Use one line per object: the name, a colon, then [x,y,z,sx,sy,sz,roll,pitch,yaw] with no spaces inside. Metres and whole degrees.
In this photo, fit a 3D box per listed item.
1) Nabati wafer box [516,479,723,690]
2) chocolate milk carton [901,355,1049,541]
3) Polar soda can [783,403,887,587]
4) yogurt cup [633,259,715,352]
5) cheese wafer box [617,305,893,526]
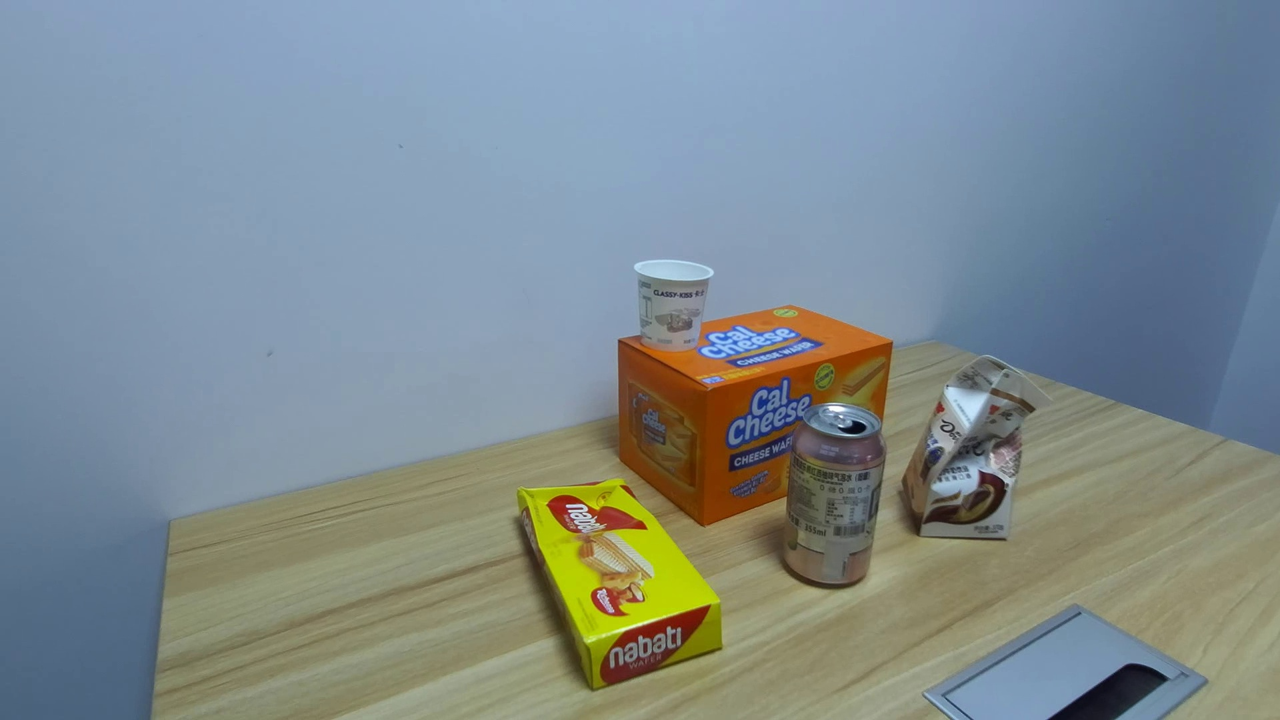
Nabati wafer box: [-0.025,0.144,0.519,0.097,0.042,0.202,-9,21,-19]
chocolate milk carton: [0.278,0.070,0.580,0.089,0.155,0.076,13,23,-4]
Polar soda can: [0.142,0.099,0.521,0.067,0.125,0.067,1,19,0]
yogurt cup: [0.028,-0.048,0.632,0.072,0.068,0.072,2,21,-1]
cheese wafer box: [0.106,0.040,0.675,0.223,0.129,0.147,-12,24,-30]
